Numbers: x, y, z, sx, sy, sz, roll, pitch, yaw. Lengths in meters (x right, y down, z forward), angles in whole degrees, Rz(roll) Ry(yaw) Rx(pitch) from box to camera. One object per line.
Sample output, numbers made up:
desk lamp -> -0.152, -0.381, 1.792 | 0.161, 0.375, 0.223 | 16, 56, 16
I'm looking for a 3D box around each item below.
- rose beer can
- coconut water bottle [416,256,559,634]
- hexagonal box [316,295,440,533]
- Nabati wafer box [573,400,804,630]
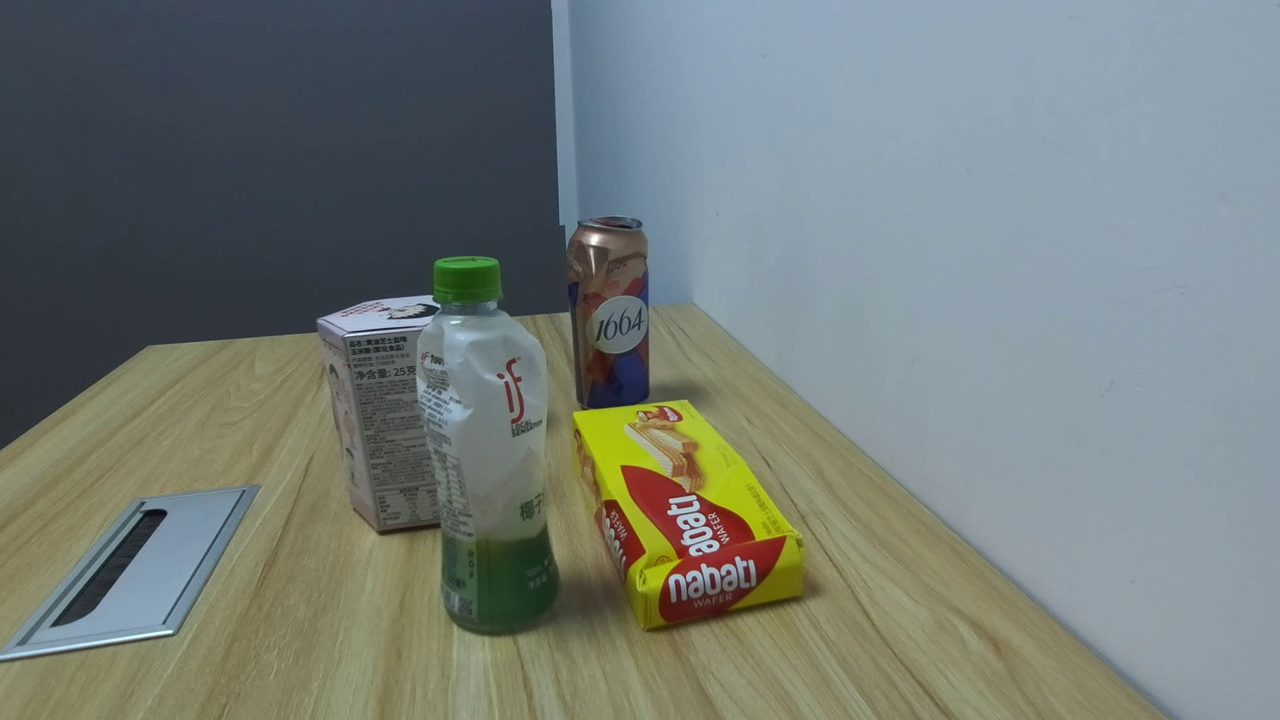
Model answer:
rose beer can -> -0.024, -0.037, 0.610 | 0.076, 0.167, 0.065 | -12, 25, -35
coconut water bottle -> -0.078, 0.043, 0.360 | 0.067, 0.187, 0.067 | -2, 18, 1
hexagonal box -> -0.154, 0.034, 0.466 | 0.083, 0.136, 0.091 | 5, 21, 19
Nabati wafer box -> 0.020, 0.084, 0.456 | 0.097, 0.042, 0.202 | -5, 20, -14
